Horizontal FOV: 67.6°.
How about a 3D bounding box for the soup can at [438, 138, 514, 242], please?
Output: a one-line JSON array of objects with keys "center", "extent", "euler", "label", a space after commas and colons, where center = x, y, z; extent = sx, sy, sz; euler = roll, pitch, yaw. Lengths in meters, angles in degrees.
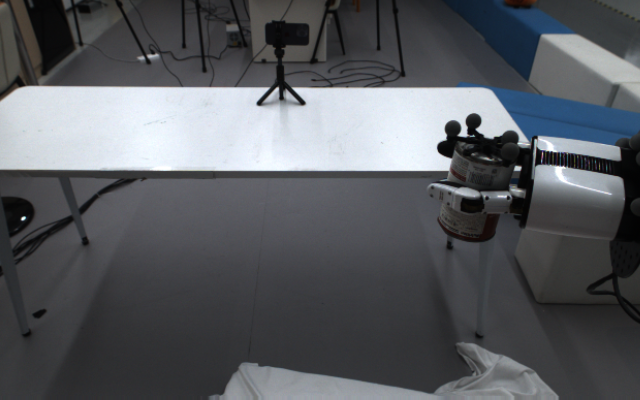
[{"center": [0.179, -0.013, 0.552], "extent": [0.067, 0.101, 0.067], "euler": [3, 30, -2], "label": "soup can"}]
